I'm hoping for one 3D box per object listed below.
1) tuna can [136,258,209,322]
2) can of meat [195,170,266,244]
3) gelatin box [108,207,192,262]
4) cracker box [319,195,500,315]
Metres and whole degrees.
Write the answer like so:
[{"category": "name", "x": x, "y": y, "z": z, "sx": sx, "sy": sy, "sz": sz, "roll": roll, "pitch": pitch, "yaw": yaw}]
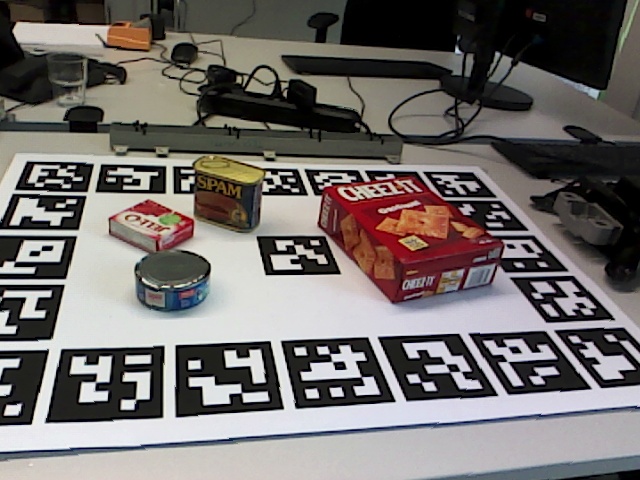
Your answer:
[{"category": "tuna can", "x": -0.177, "y": 0.059, "z": 0.748, "sx": 0.085, "sy": 0.033, "sz": 0.086, "roll": 5, "pitch": 33, "yaw": -4}, {"category": "can of meat", "x": -0.134, "y": -0.048, "z": 0.918, "sx": 0.102, "sy": 0.083, "sz": 0.057, "roll": 15, "pitch": 30, "yaw": 15}, {"category": "gelatin box", "x": -0.237, "y": -0.009, "z": 0.864, "sx": 0.090, "sy": 0.030, "sz": 0.073, "roll": 24, "pitch": 30, "yaw": 22}, {"category": "cracker box", "x": 0.121, "y": 0.011, "z": 0.881, "sx": 0.163, "sy": 0.072, "sz": 0.215, "roll": -7, "pitch": 31, "yaw": -27}]
